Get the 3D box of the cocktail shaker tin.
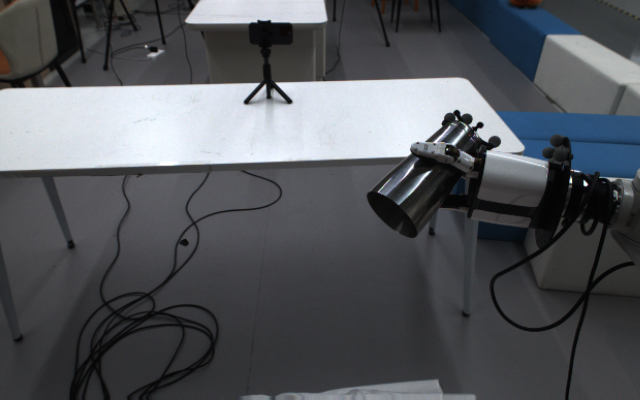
[{"bbox_3d":[0.158,-0.042,0.707,0.170,0.093,0.093,-43,50,-14],"label":"cocktail shaker tin"}]
